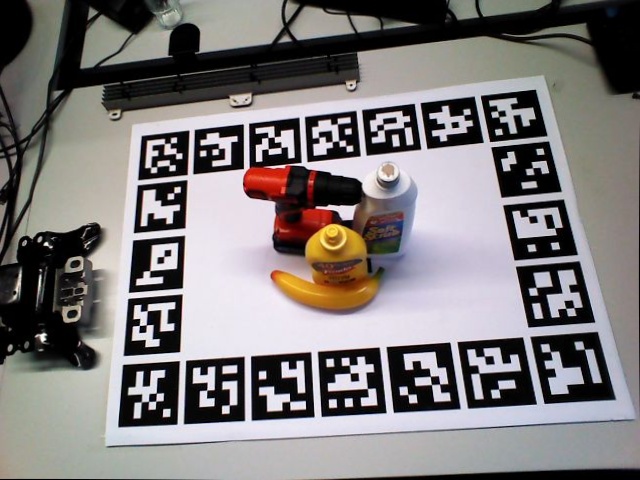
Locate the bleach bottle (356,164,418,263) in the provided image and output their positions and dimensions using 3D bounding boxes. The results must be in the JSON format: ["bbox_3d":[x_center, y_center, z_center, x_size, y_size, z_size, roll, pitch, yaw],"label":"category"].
[{"bbox_3d":[0.096,-0.044,0.779,0.103,0.251,0.067,-2,64,6],"label":"bleach bottle"}]

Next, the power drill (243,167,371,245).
[{"bbox_3d":[-0.014,-0.047,0.798,0.185,0.187,0.057,7,70,8],"label":"power drill"}]

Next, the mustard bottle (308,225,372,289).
[{"bbox_3d":[0.031,0.023,0.788,0.096,0.192,0.058,-4,69,5],"label":"mustard bottle"}]

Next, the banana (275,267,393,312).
[{"bbox_3d":[0.021,0.082,0.860,0.198,0.039,0.074,-1,71,9],"label":"banana"}]
